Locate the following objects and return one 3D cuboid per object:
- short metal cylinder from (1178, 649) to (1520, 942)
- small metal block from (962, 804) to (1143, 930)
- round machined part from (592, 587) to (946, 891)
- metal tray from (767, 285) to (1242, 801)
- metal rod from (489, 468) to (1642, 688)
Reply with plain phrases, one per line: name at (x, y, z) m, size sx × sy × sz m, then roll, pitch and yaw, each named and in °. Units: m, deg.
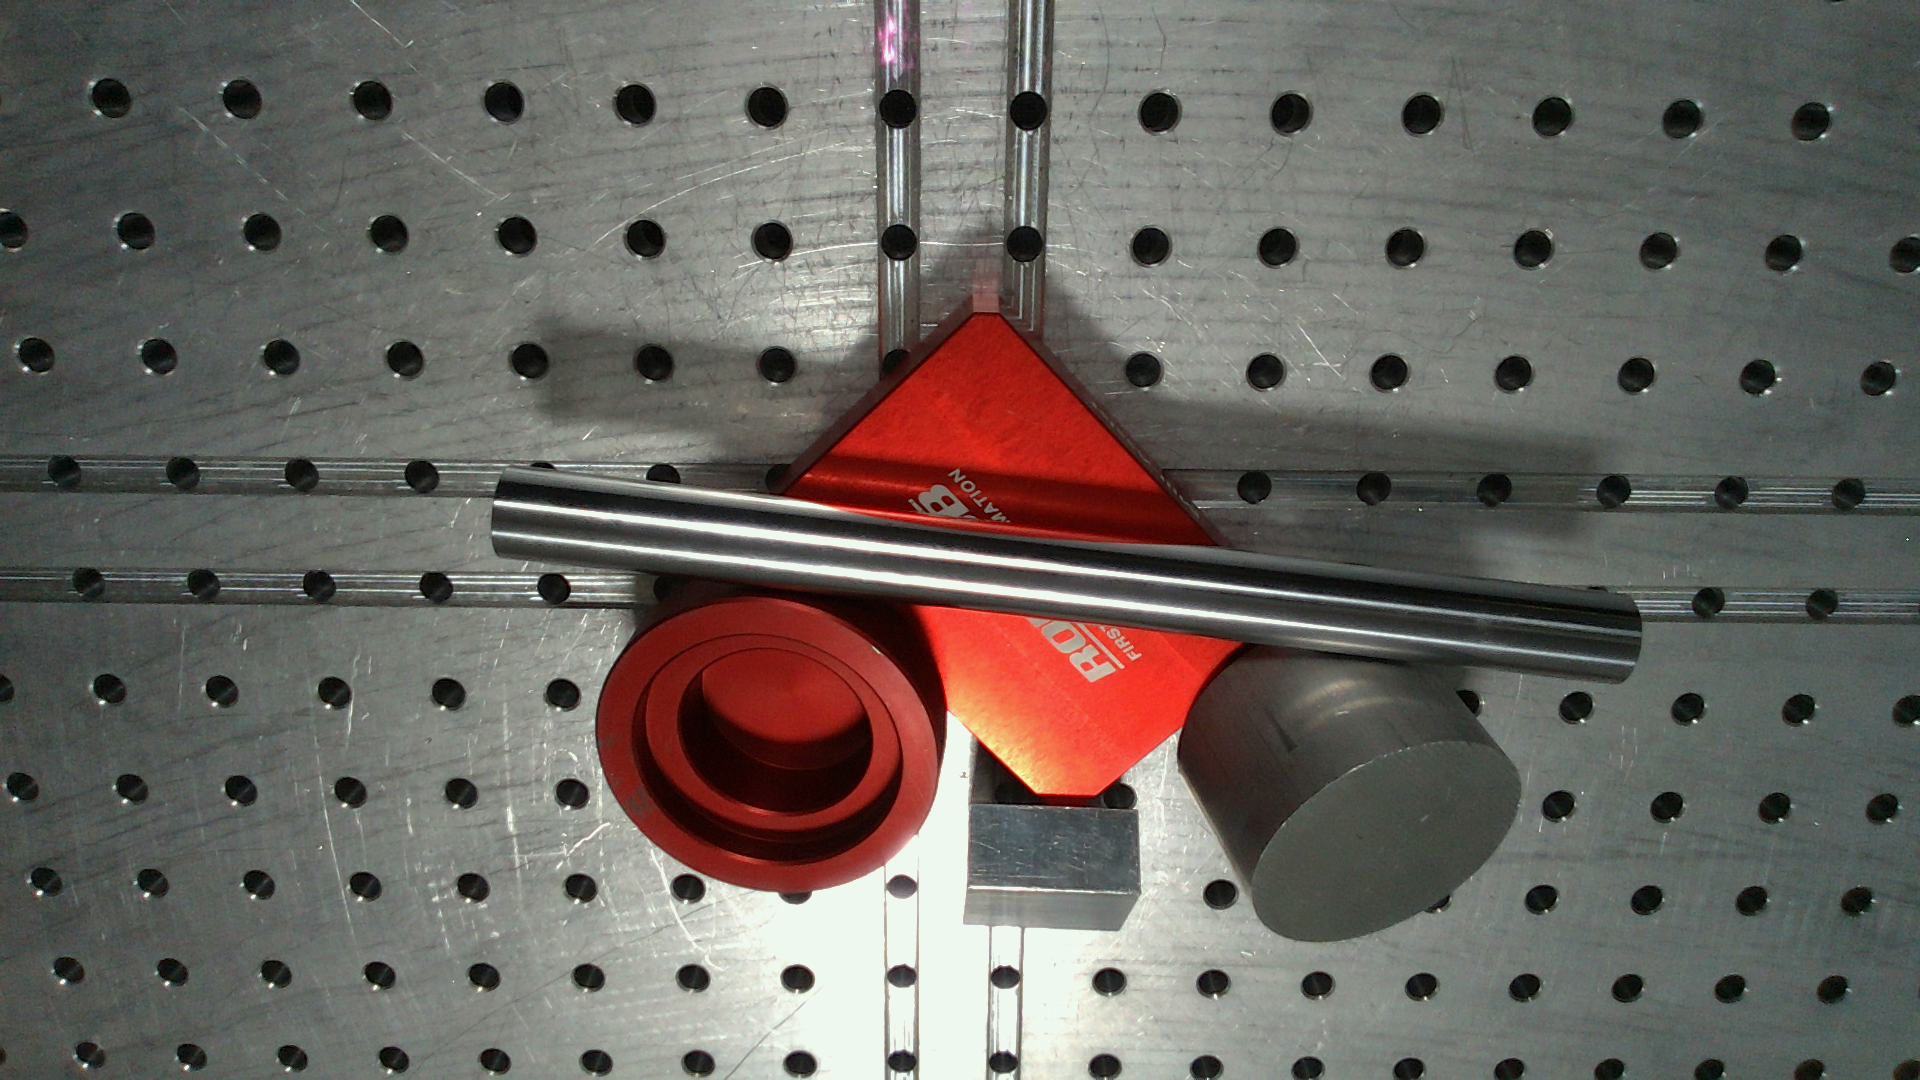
short metal cylinder at (0.109, 0.069, 0.393) m, size 0.080 × 0.050 × 0.080 m, roll -11°, pitch 131°, yaw -13°
small metal block at (0.027, 0.101, 0.419) m, size 0.050 × 0.025 × 0.050 m, roll 2°, pitch 153°, yaw -1°
round machined part at (-0.053, 0.051, 0.401) m, size 0.098 × 0.042 × 0.098 m, roll 2°, pitch 116°, yaw 5°
metal tray at (0.020, 0.004, 0.397) m, size 0.090 × 0.030 × 0.130 m, roll -42°, pitch 105°, yaw 14°
metal rod at (0.030, 0.011, 0.367) m, size 0.300 × 0.025 × 0.025 m, roll 7°, pitch 110°, yaw -3°
